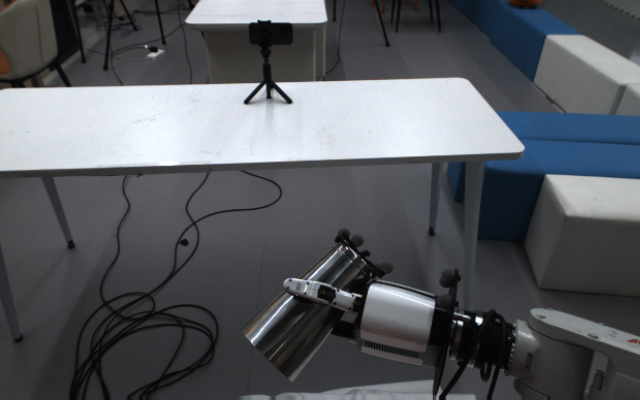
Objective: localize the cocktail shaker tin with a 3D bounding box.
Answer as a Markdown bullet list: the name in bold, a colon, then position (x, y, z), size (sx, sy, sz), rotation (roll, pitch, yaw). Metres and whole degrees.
- **cocktail shaker tin**: position (-0.011, 0.135, 0.634), size (0.170, 0.093, 0.093), rotation (-43, 50, -14)
